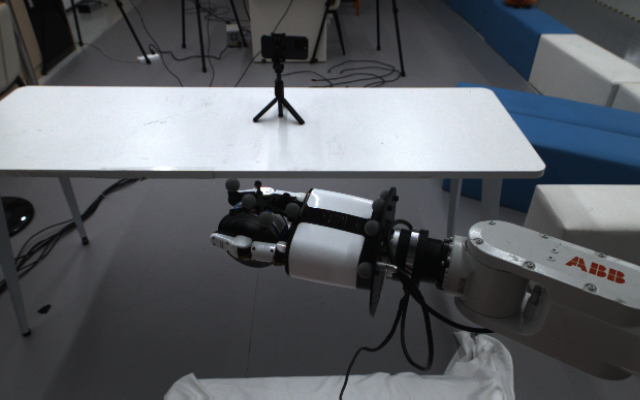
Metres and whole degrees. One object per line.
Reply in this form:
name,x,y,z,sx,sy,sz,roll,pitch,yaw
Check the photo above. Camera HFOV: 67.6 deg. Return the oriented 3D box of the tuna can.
tuna can,-0.081,0.042,0.614,0.085,0.085,0.034,12,33,14
